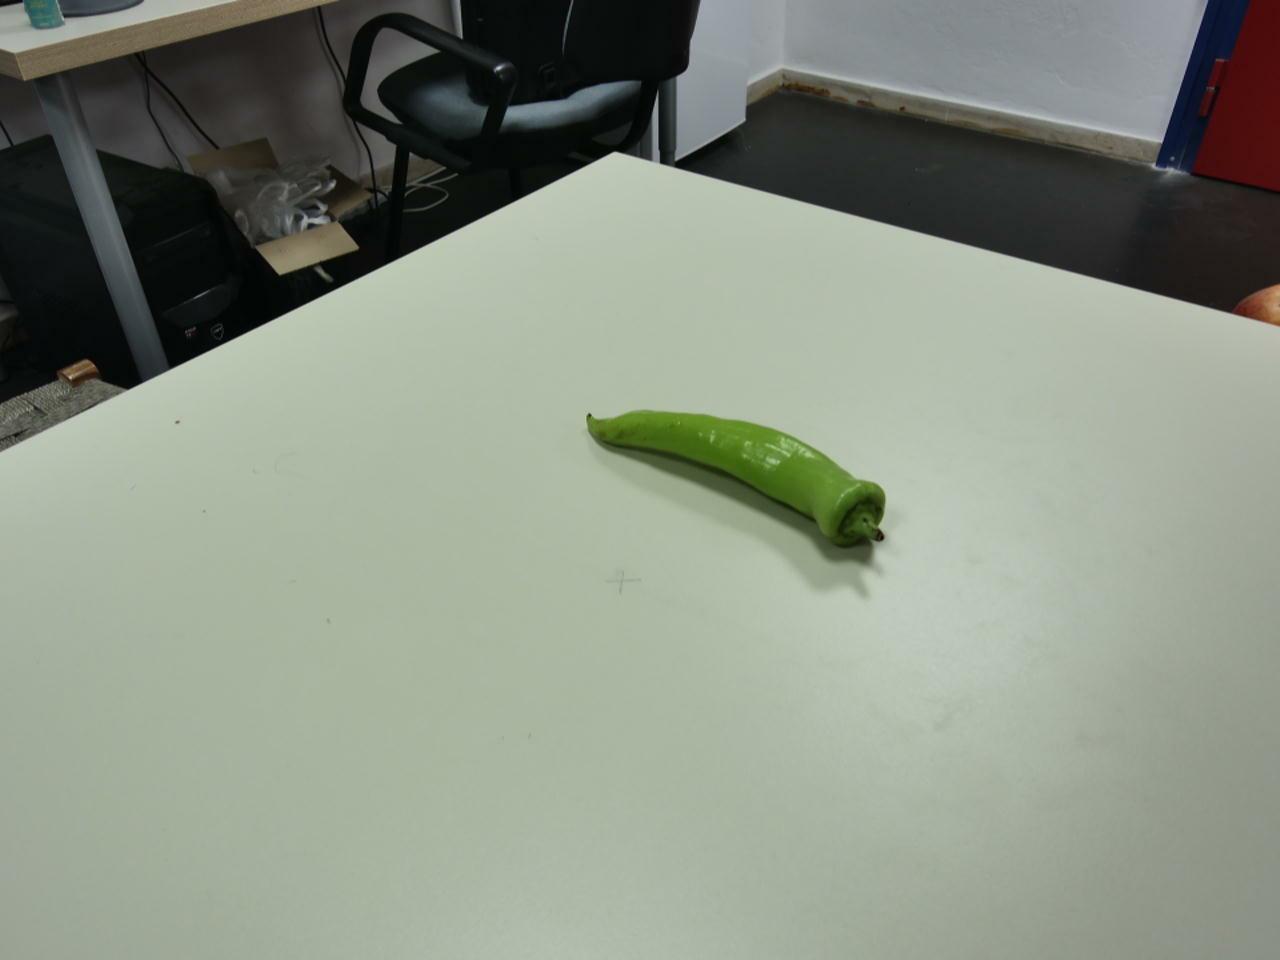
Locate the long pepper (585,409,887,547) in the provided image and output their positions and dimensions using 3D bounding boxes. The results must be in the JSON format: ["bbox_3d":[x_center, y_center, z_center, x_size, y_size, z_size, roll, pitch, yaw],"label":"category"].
[{"bbox_3d":[0.051,-0.014,0.537,0.197,0.038,0.046,27,45,32],"label":"long pepper"}]
